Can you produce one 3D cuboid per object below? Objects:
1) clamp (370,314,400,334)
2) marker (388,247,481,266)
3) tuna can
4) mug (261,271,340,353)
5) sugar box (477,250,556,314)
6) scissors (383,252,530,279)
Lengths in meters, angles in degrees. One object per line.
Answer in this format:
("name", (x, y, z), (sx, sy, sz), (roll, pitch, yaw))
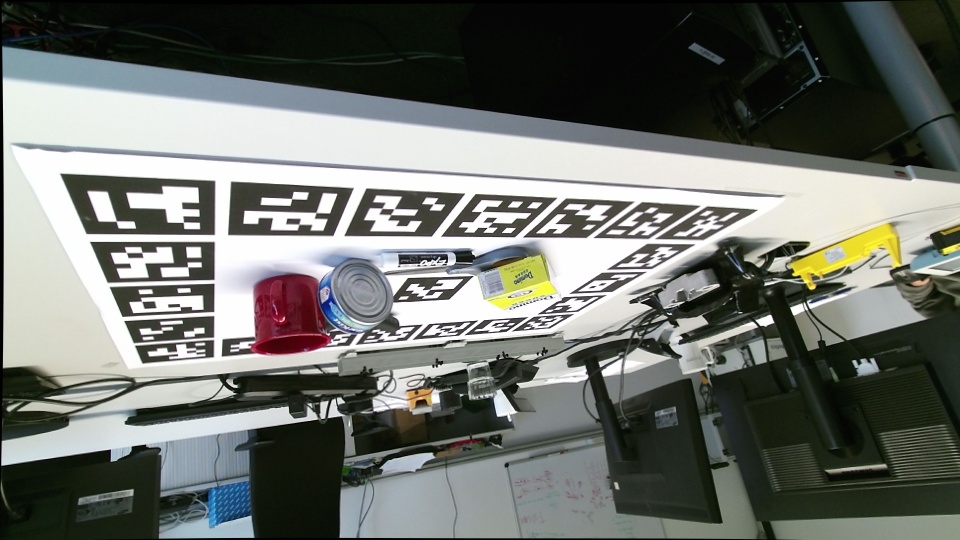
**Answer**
("clamp", (-0.191, 0.060, 0.787), (0.166, 0.036, 0.203), (-5, 156, -18))
("marker", (-0.055, -0.017, 0.675), (0.121, 0.019, 0.019), (-3, 155, -24))
("tuna can", (-0.153, 0.029, 0.643), (0.086, 0.085, 0.034), (8, 150, -42))
("mug", (-0.229, 0.048, 0.661), (0.093, 0.081, 0.117), (-12, 161, -2))
("sugar box", (0.059, 0.024, 0.789), (0.093, 0.045, 0.177), (-16, 164, 7))
("scissors", (-0.030, 0.002, 0.728), (0.204, 0.016, 0.088), (-4, 160, -17))
